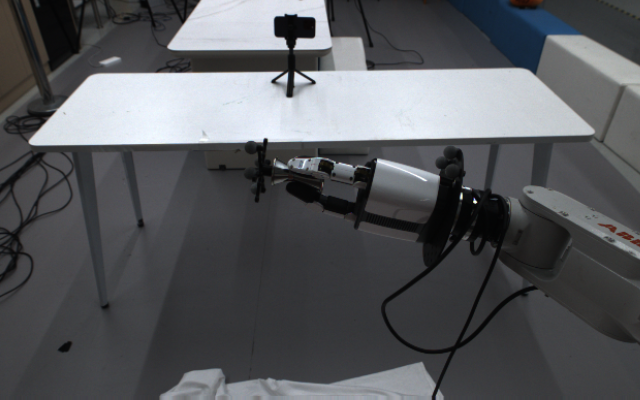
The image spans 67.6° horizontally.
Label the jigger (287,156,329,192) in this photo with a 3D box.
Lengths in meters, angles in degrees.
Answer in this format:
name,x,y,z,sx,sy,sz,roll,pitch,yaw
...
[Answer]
name,x,y,z,sx,sy,sz,roll,pitch,yaw
jigger,-0.021,-0.039,0.654,0.071,0.043,0.043,5,35,2
